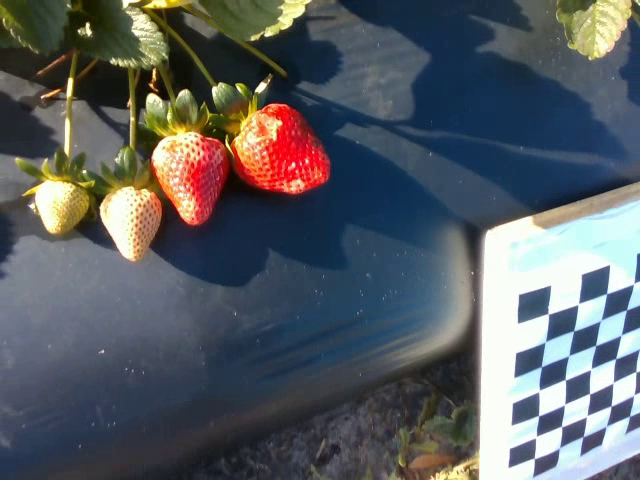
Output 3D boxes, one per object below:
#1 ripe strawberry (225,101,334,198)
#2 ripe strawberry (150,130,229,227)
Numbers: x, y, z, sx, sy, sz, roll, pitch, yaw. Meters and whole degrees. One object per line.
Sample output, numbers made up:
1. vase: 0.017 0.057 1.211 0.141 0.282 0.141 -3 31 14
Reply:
1. ripe strawberry: -0.017 -0.047 0.321 0.067 0.057 0.051 35 12 20
2. ripe strawberry: -0.068 -0.033 0.311 0.050 0.061 0.043 5 -22 -30
